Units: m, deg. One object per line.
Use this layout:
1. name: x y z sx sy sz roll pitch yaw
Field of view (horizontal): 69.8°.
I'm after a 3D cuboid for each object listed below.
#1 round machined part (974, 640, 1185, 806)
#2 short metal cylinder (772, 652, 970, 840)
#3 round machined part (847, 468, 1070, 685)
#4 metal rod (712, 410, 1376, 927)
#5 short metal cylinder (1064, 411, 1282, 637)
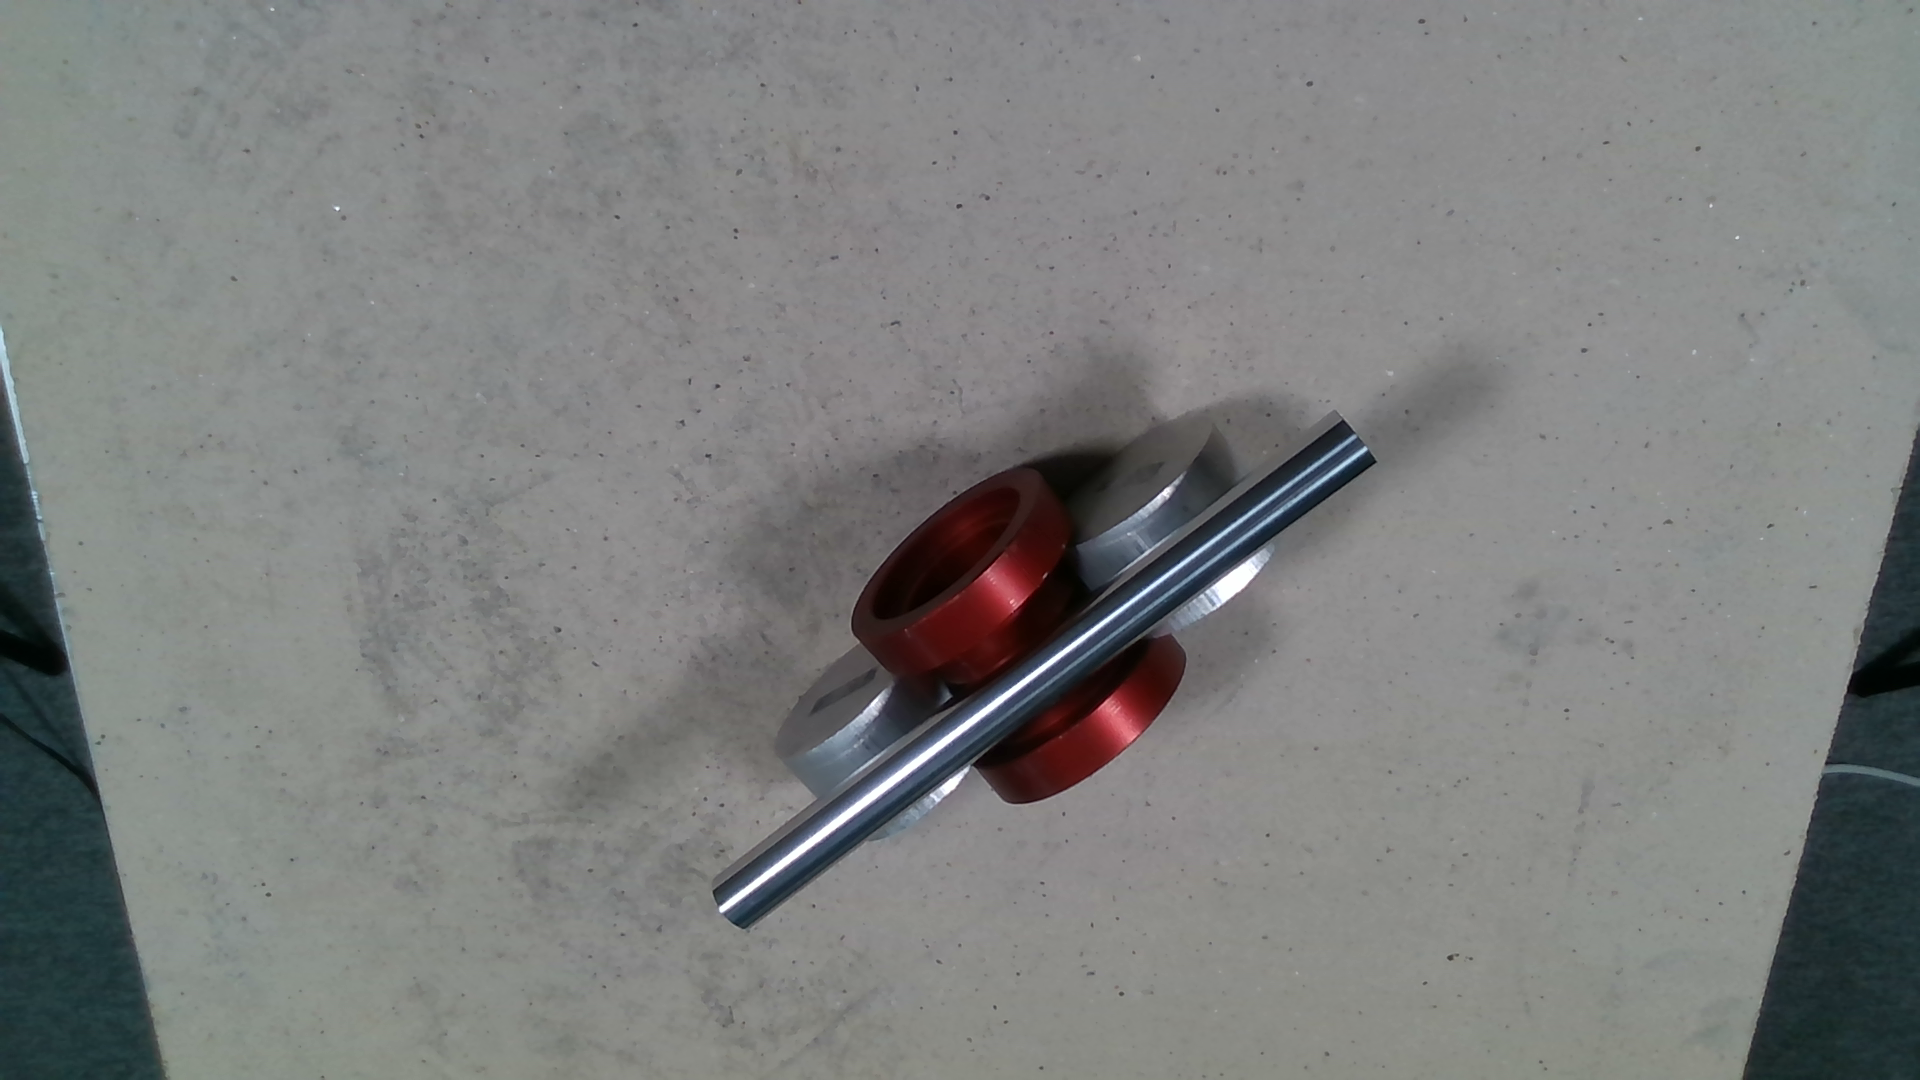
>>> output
1. round machined part: 0.041 0.060 0.568 0.098 0.098 0.042 -37 101 13
2. short metal cylinder: -0.033 0.080 0.585 0.080 0.080 0.050 -37 106 13
3. round machined part: 0.005 0.020 0.552 0.098 0.098 0.042 -37 110 13
4. metal rod: 0.024 0.054 0.520 0.300 0.025 0.025 -38 106 13
5. short metal cylinder: 0.082 -0.006 0.553 0.080 0.080 0.050 -37 106 13
